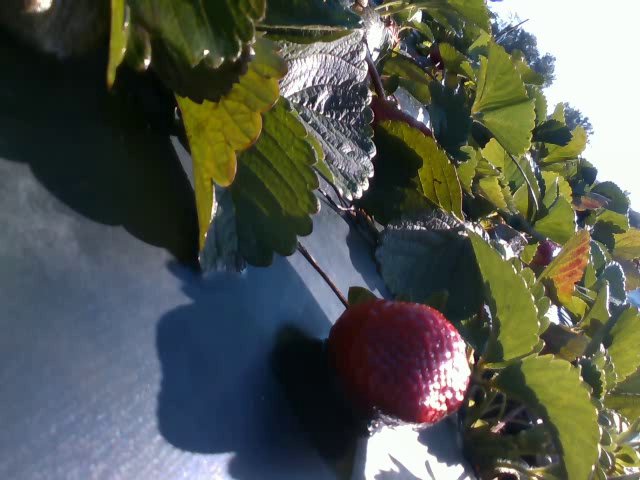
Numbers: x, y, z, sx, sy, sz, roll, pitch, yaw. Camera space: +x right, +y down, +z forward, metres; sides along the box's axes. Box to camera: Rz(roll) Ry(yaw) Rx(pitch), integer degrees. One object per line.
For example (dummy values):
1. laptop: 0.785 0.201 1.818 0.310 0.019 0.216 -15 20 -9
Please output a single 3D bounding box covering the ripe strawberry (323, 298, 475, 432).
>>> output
1. ripe strawberry: 0.019 0.035 0.158 0.044 0.042 0.056 7 10 7
